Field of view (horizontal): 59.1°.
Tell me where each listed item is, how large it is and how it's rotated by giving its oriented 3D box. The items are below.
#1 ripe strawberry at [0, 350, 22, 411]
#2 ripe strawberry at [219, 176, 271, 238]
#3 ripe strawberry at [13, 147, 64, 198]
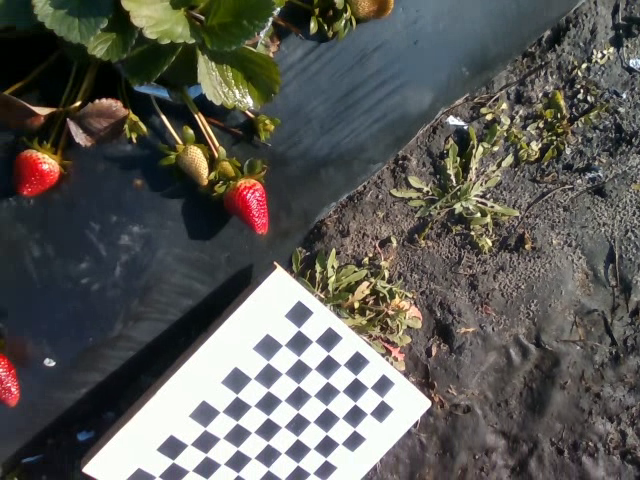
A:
[{"bbox_3d":[-0.281,0.127,0.507,0.045,0.055,0.042,-40,-9,-8],"label":"ripe strawberry"},{"bbox_3d":[-0.065,-0.029,0.496,0.042,0.059,0.042,-27,10,-13],"label":"ripe strawberry"},{"bbox_3d":[-0.226,-0.052,0.469,0.034,0.047,0.035,44,-10,-22],"label":"ripe strawberry"}]
